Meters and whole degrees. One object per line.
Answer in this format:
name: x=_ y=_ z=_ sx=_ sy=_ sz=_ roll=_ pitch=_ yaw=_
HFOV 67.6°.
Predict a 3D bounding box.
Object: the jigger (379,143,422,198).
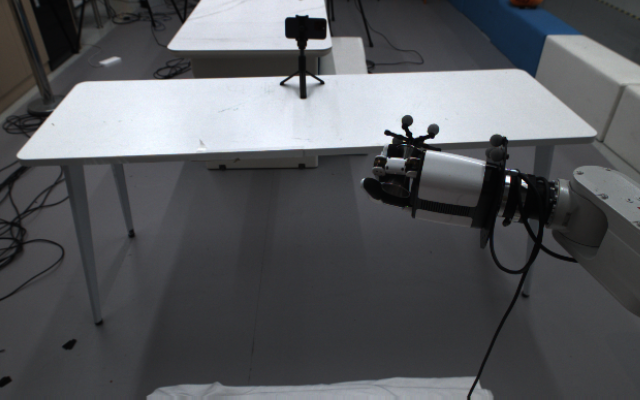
jigger: x=0.121 y=-0.047 z=0.711 sx=0.043 sy=0.043 sz=0.071 roll=16 pitch=70 yaw=19
